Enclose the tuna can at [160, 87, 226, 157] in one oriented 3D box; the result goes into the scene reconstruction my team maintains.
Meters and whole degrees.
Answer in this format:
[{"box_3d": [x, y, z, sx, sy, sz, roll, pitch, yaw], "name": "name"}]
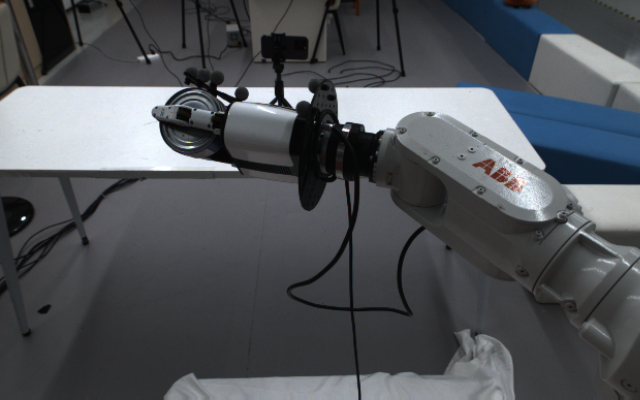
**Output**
[{"box_3d": [-0.157, -0.098, 0.622, 0.085, 0.085, 0.034, 14, -6, 16], "name": "tuna can"}]
